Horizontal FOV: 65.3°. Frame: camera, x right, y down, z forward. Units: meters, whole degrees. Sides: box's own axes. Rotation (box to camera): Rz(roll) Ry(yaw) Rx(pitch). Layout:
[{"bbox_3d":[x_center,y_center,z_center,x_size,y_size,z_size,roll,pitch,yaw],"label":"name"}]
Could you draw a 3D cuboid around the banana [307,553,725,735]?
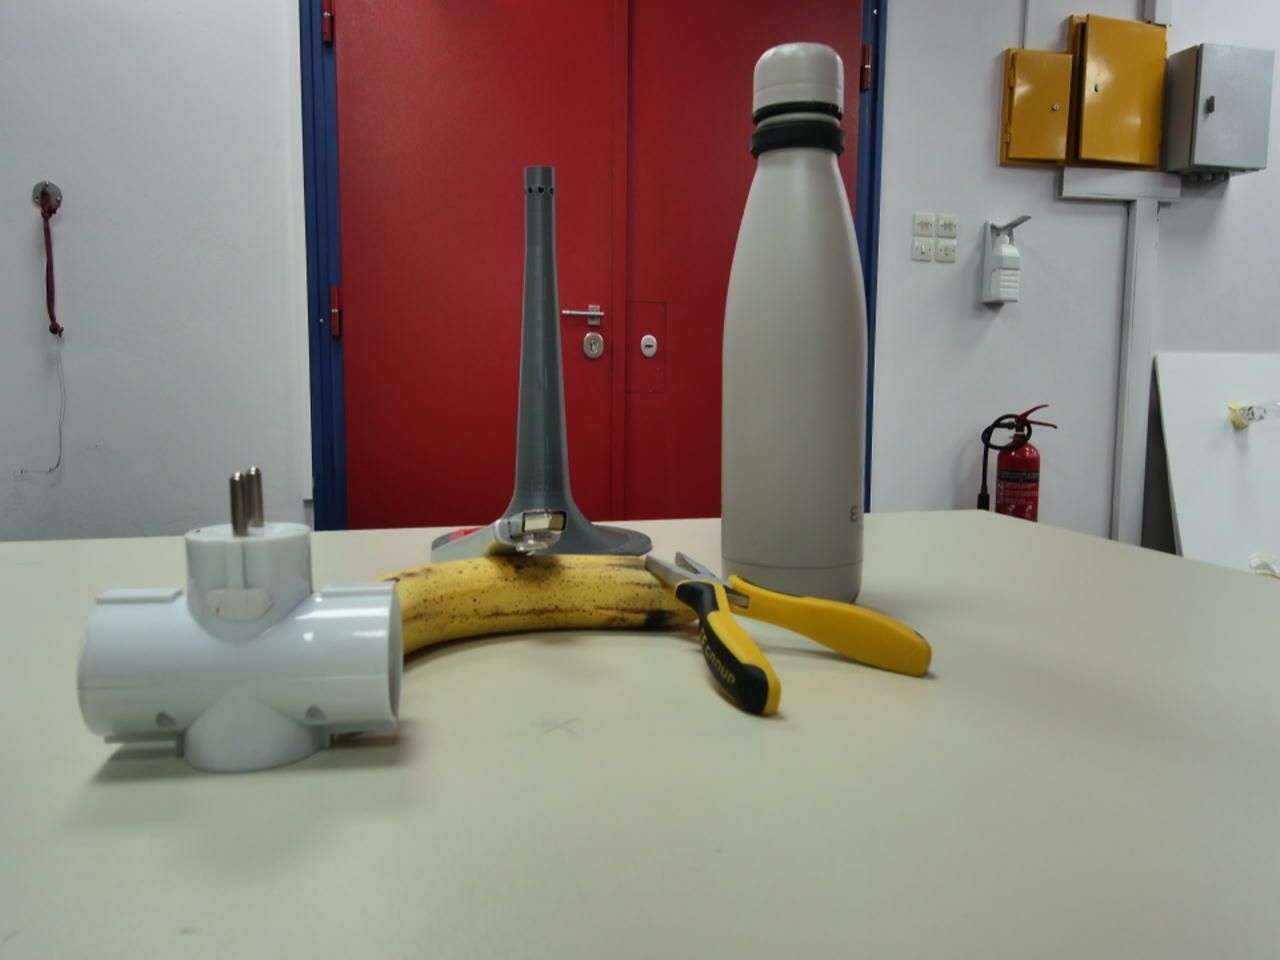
[{"bbox_3d":[-0.059,0.056,0.432,0.186,0.038,0.097,-4,6,-41],"label":"banana"}]
